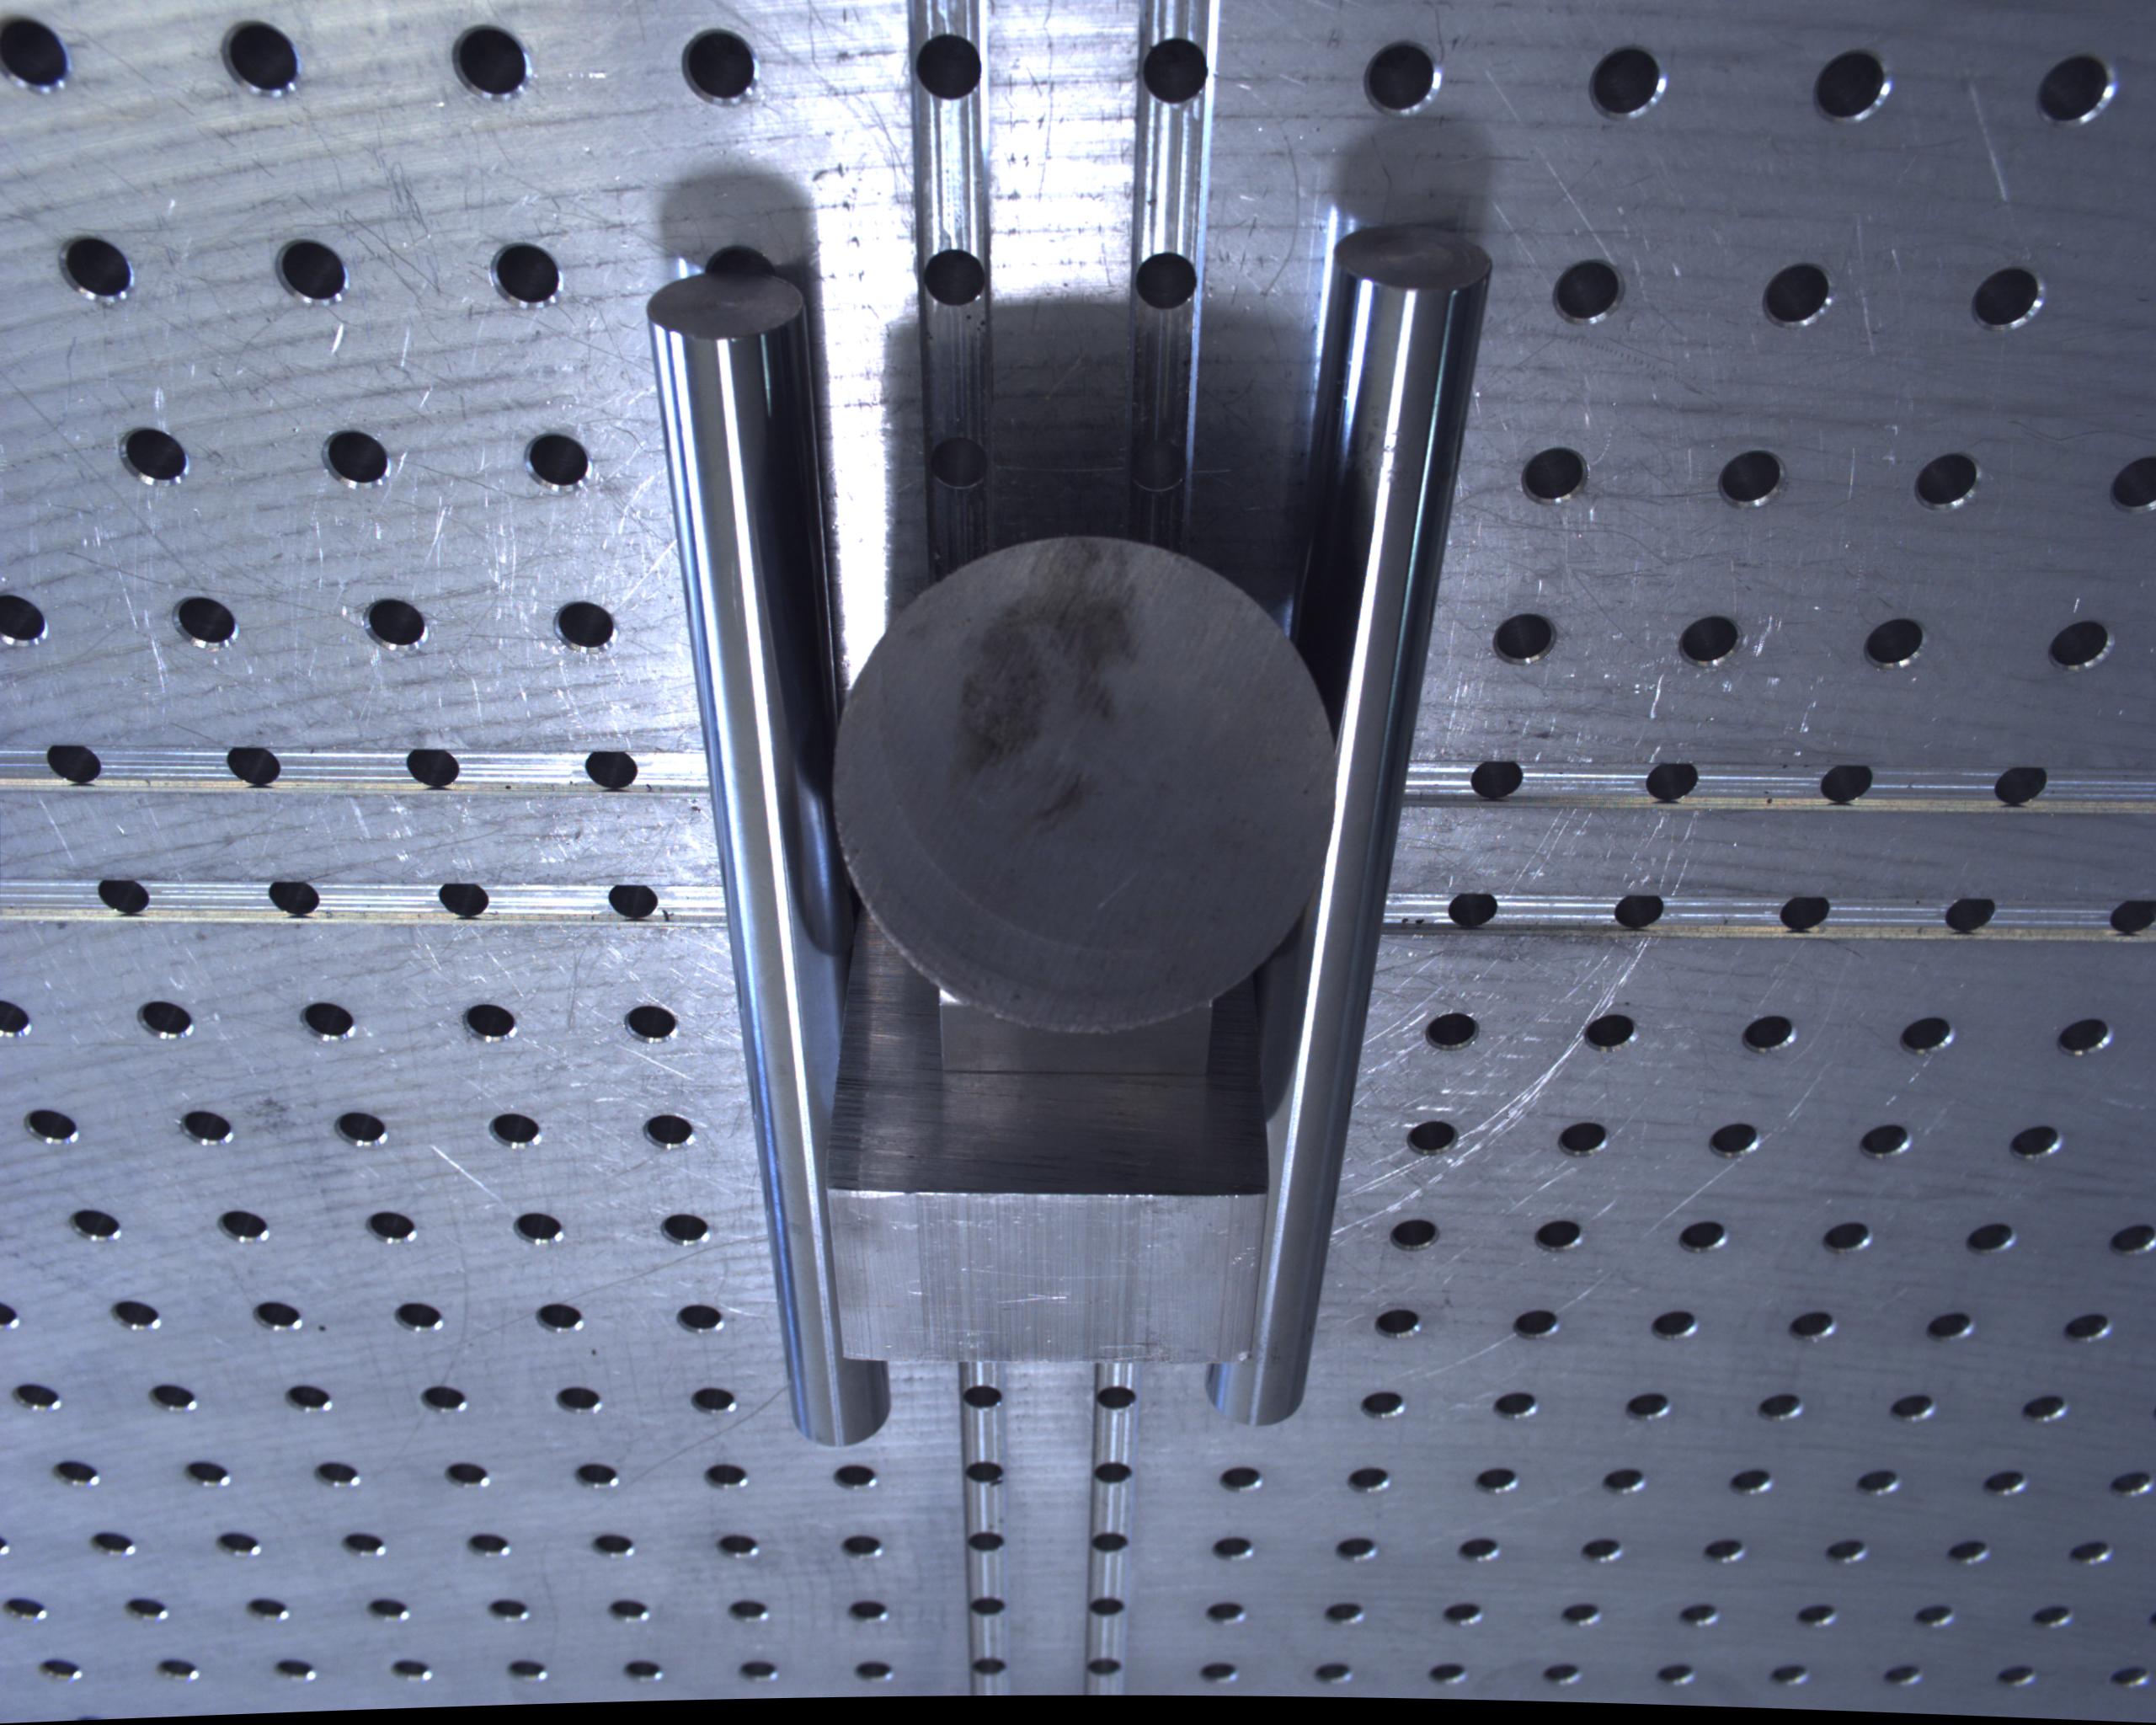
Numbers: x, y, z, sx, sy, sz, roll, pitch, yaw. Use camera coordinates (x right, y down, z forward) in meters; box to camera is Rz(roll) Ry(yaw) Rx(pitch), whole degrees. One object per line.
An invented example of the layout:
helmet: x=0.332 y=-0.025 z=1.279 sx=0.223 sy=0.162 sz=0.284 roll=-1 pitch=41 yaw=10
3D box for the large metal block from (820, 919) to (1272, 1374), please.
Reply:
large metal block: x=-0.006 y=0.054 z=0.418 sx=0.081 sy=0.080 sz=0.050 roll=1 pitch=130 yaw=-1

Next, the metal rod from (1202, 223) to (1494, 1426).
metal rod: x=0.048 y=0.017 z=0.427 sx=0.025 sy=0.025 sz=0.298 roll=1 pitch=130 yaw=-1

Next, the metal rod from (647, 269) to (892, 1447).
metal rod: x=-0.058 y=0.024 z=0.431 sx=0.025 sy=0.025 sz=0.298 roll=0 pitch=130 yaw=-1

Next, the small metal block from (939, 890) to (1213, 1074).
small metal block: x=-0.001 y=0.014 z=0.407 sx=0.050 sy=0.050 sz=0.025 roll=1 pitch=130 yaw=-2

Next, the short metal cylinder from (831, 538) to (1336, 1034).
short metal cylinder: x=0.001 y=-0.011 z=0.358 sx=0.081 sy=0.050 sz=0.080 roll=0 pitch=86 yaw=-1
